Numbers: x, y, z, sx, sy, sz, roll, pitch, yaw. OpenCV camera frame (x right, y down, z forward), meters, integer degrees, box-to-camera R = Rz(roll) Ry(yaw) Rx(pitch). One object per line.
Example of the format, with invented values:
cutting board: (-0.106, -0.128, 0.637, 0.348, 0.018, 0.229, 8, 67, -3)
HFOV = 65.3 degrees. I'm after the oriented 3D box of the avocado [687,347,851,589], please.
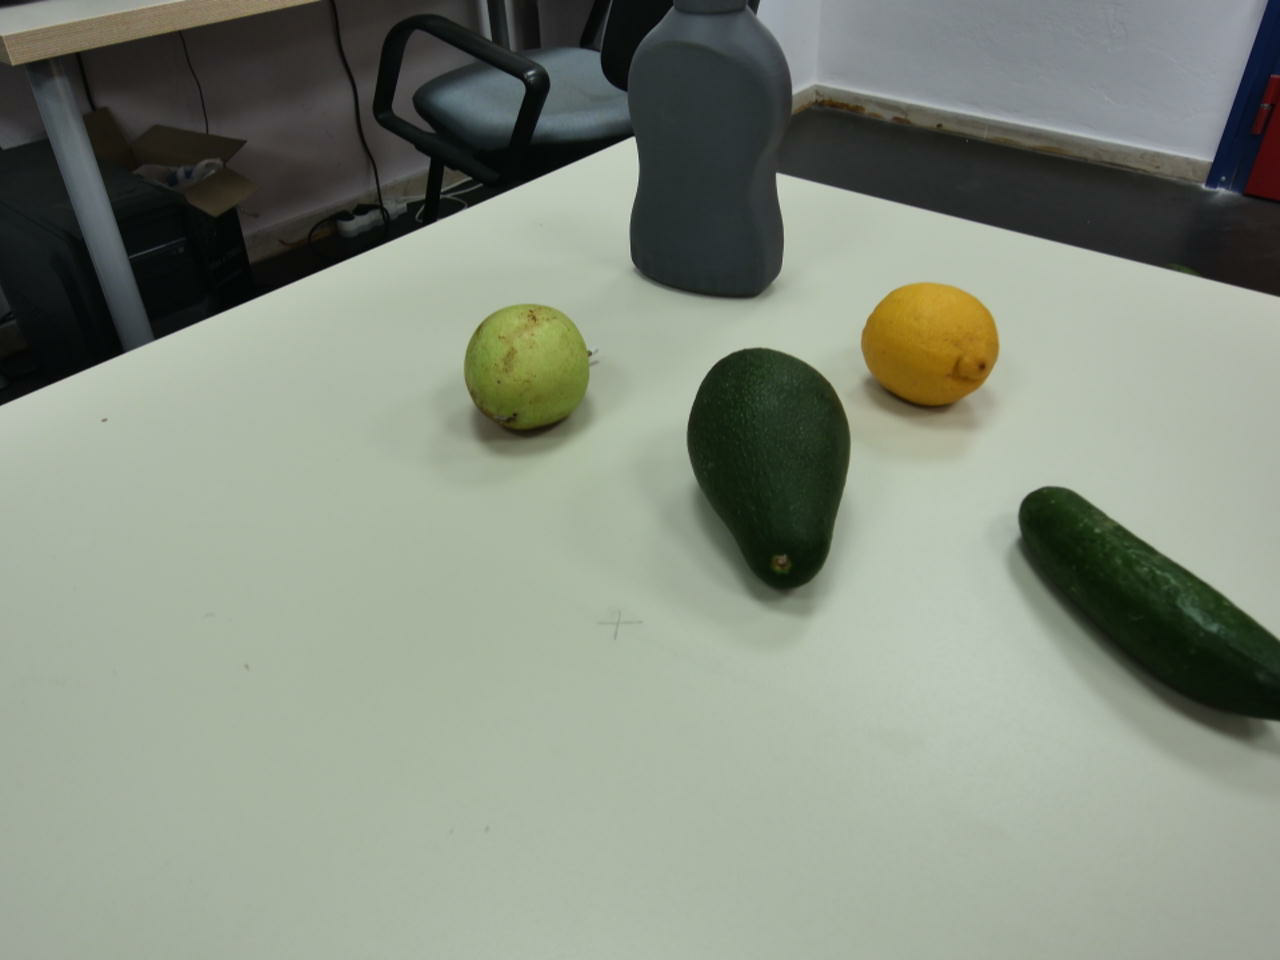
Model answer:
avocado: (0.052, -0.010, 0.427, 0.073, 0.071, 0.109, 9, 38, 14)
